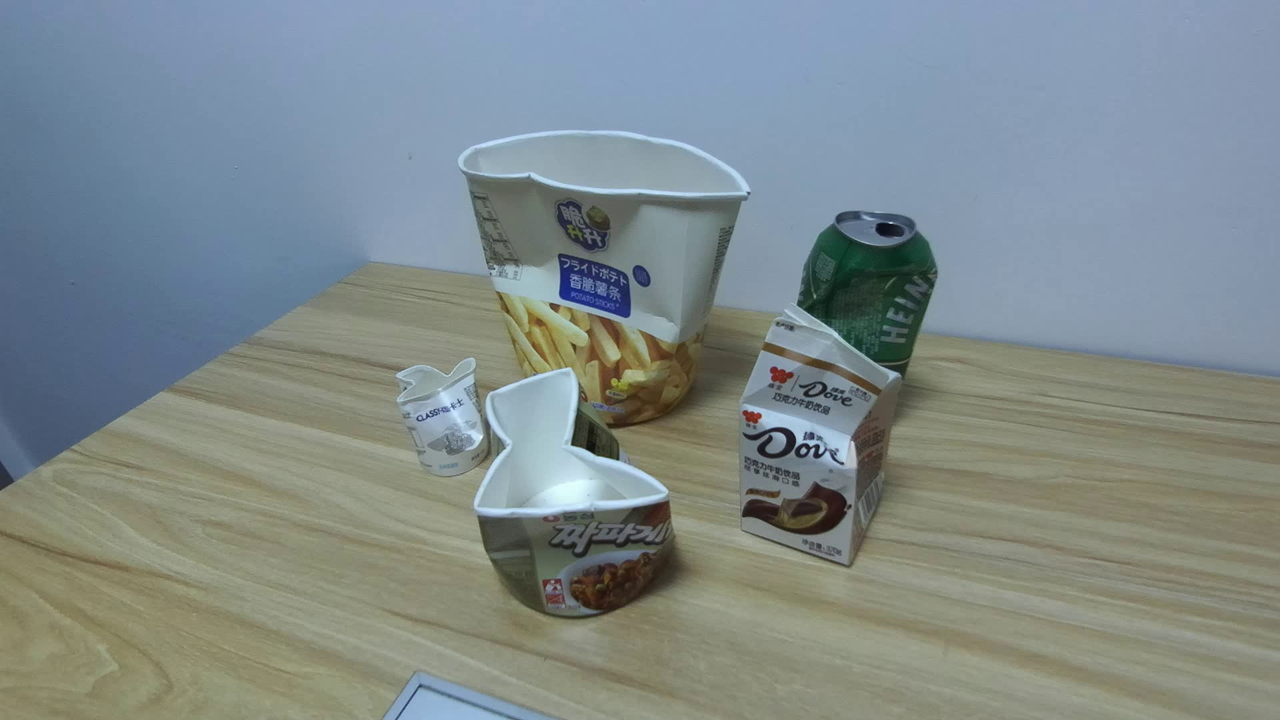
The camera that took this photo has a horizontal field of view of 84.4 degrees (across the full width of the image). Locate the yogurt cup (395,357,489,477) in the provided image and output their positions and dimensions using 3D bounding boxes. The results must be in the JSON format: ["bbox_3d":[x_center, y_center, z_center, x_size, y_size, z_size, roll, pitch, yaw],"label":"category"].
[{"bbox_3d":[-0.144,0.043,0.527,0.055,0.072,0.055,-11,28,-1],"label":"yogurt cup"}]

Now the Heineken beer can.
[{"bbox_3d":[0.153,-0.023,0.505,0.066,0.164,0.077,-29,44,-32],"label":"Heineken beer can"}]

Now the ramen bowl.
[{"bbox_3d":[-0.040,0.078,0.433,0.111,0.093,0.128,-7,34,-4],"label":"ramen bowl"}]

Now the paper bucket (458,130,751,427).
[{"bbox_3d":[-0.028,-0.065,0.556,0.218,0.199,0.147,-1,33,4],"label":"paper bucket"}]

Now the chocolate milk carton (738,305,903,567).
[{"bbox_3d":[0.107,0.038,0.421,0.076,0.156,0.074,15,40,26],"label":"chocolate milk carton"}]
